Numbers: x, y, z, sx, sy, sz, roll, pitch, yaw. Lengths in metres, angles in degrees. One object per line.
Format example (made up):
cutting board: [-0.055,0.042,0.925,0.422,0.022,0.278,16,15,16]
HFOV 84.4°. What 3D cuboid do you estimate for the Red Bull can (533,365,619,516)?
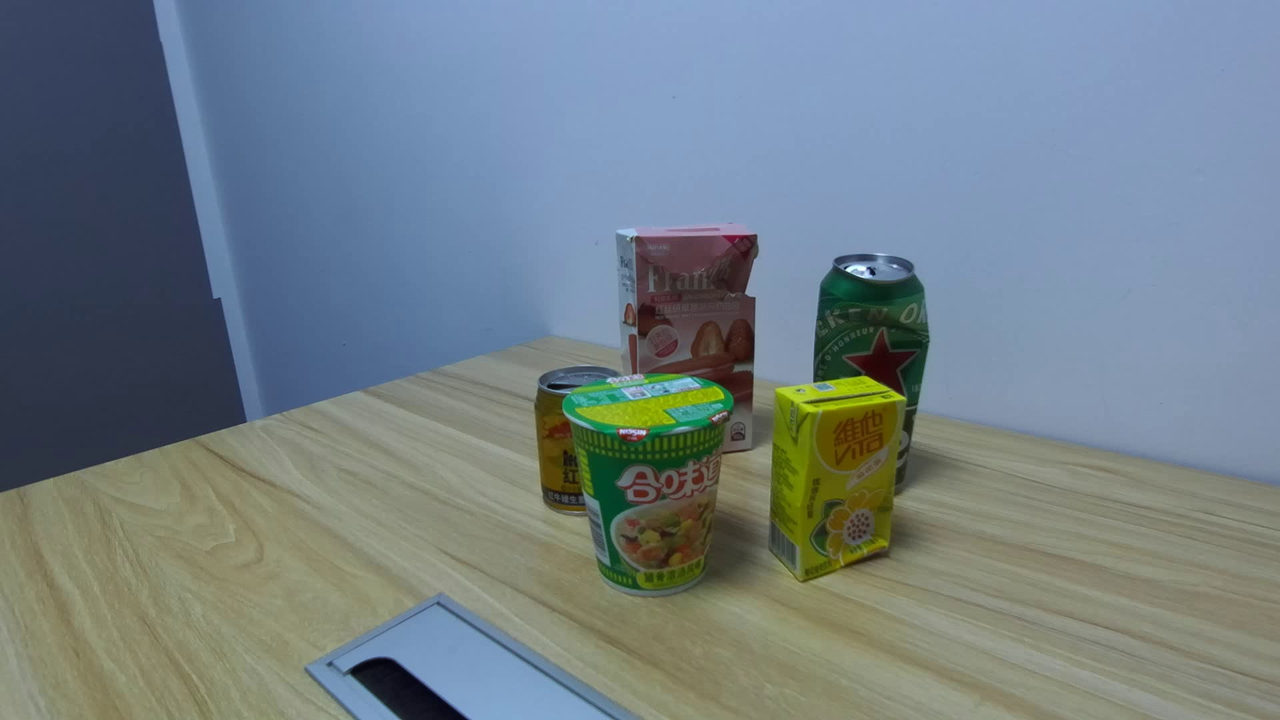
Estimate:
Red Bull can: [-0.042,0.057,0.523,0.068,0.093,0.068,-1,18,1]

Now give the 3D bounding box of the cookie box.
cookie box: [0.039,-0.013,0.572,0.105,0.186,0.059,-5,20,-9]

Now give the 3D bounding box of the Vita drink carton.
Vita drink carton: [0.120,0.069,0.422,0.076,0.109,0.043,-7,19,-17]

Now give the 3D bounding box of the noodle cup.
noodle cup: [0.005,0.073,0.416,0.097,0.110,0.097,0,18,0]
